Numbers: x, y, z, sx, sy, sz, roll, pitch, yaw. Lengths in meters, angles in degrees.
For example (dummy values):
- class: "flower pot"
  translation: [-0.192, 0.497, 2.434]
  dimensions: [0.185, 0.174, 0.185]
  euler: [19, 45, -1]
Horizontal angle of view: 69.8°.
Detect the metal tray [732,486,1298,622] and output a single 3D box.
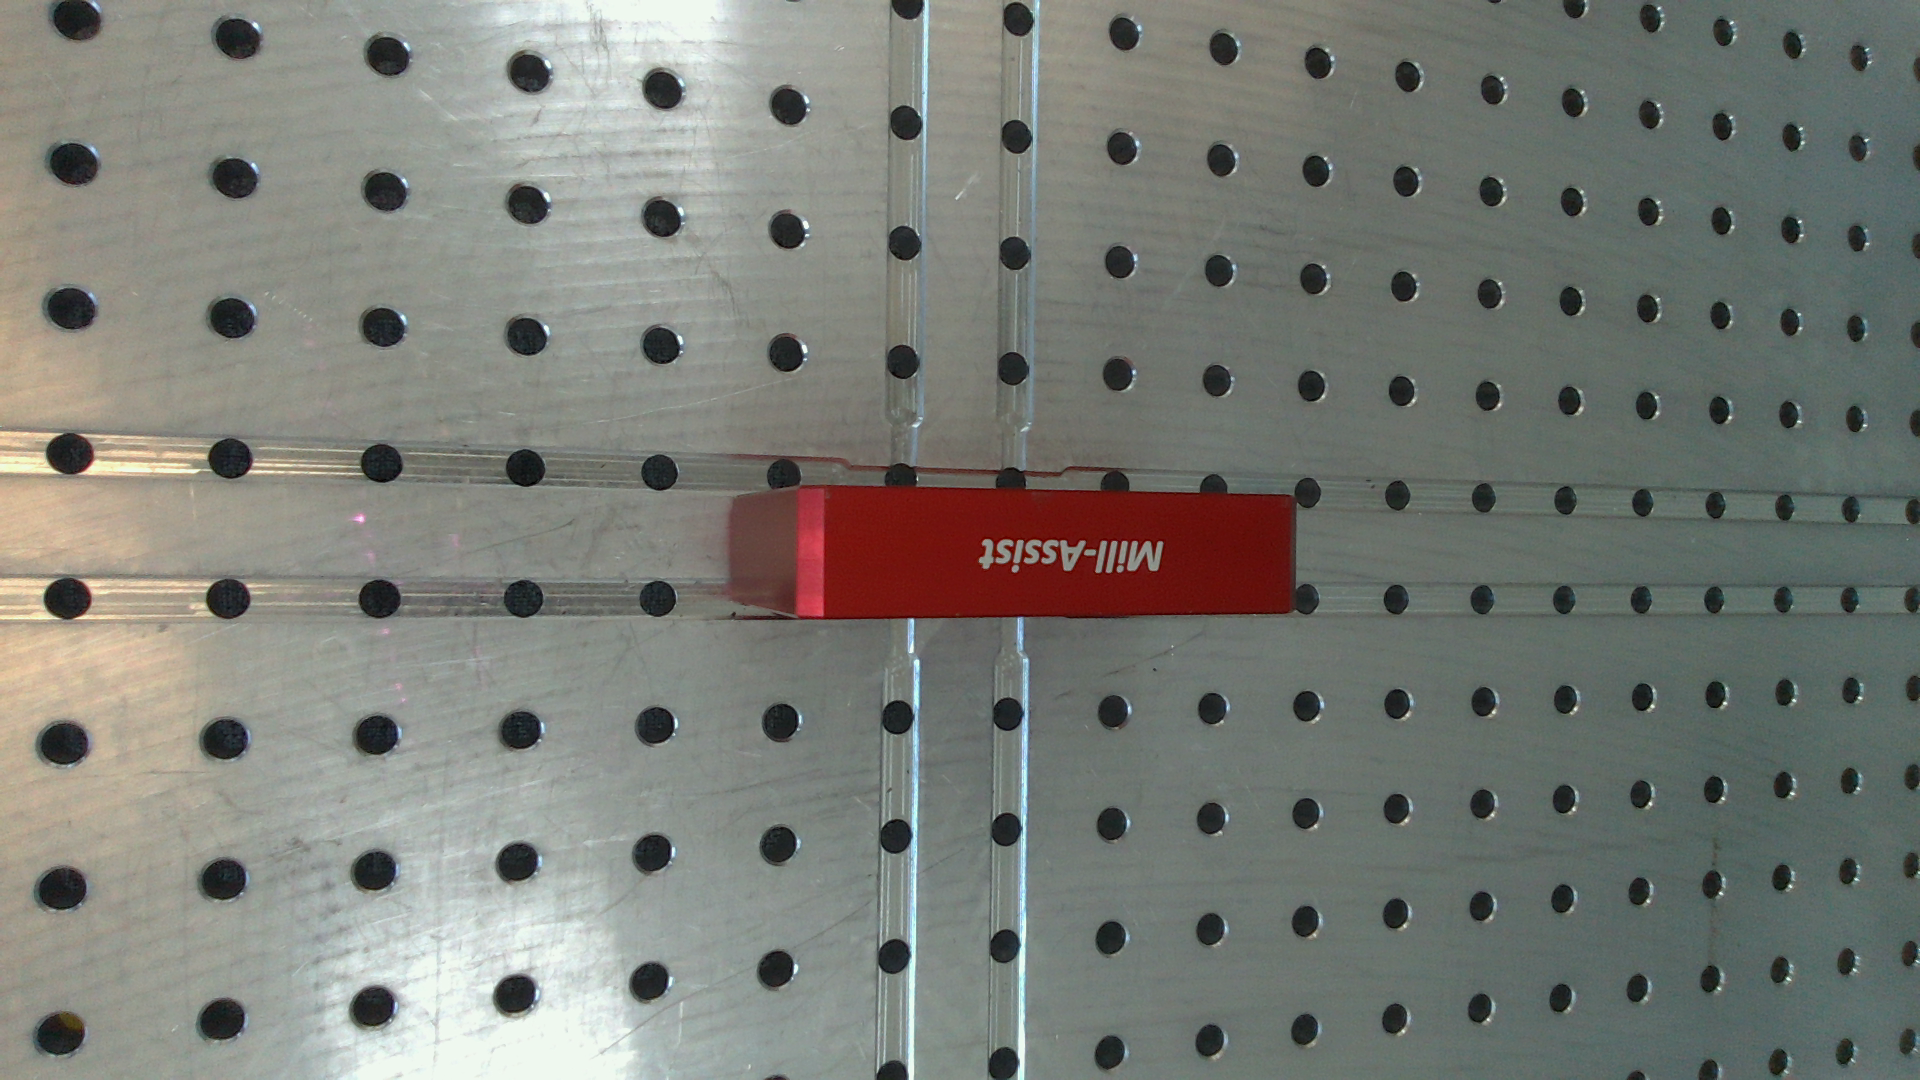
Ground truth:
- class: "metal tray"
  translation: [0.011, 0.003, 0.365]
  dimensions: [0.130, 0.090, 0.030]
  euler: [0, 90, -20]
